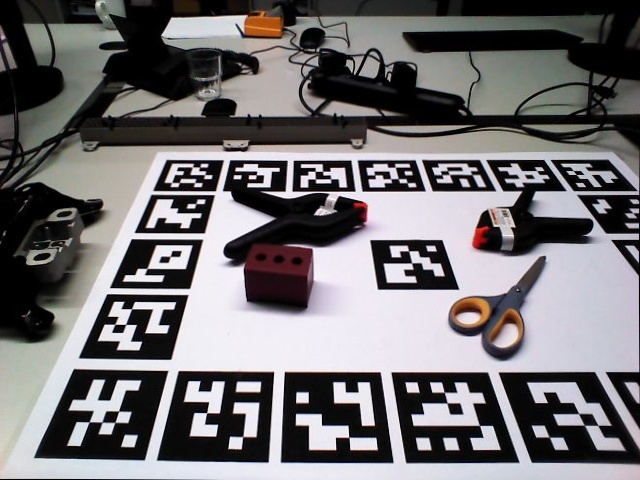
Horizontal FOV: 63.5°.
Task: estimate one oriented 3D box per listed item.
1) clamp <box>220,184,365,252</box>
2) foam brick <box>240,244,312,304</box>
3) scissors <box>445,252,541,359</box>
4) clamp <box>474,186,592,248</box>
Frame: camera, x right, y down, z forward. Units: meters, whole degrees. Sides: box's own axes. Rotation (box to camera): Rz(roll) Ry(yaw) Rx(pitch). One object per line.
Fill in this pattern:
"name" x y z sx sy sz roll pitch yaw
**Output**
"clamp" -0.037 -0.040 0.746 0.203 0.037 0.164 -2 36 -4
"foam brick" -0.053 0.041 0.637 0.078 0.051 0.052 2 40 9
"scissors" 0.228 0.063 0.632 0.088 0.016 0.201 33 47 24
"clamp" 0.290 -0.030 0.743 0.164 0.037 0.122 -19 50 -21
